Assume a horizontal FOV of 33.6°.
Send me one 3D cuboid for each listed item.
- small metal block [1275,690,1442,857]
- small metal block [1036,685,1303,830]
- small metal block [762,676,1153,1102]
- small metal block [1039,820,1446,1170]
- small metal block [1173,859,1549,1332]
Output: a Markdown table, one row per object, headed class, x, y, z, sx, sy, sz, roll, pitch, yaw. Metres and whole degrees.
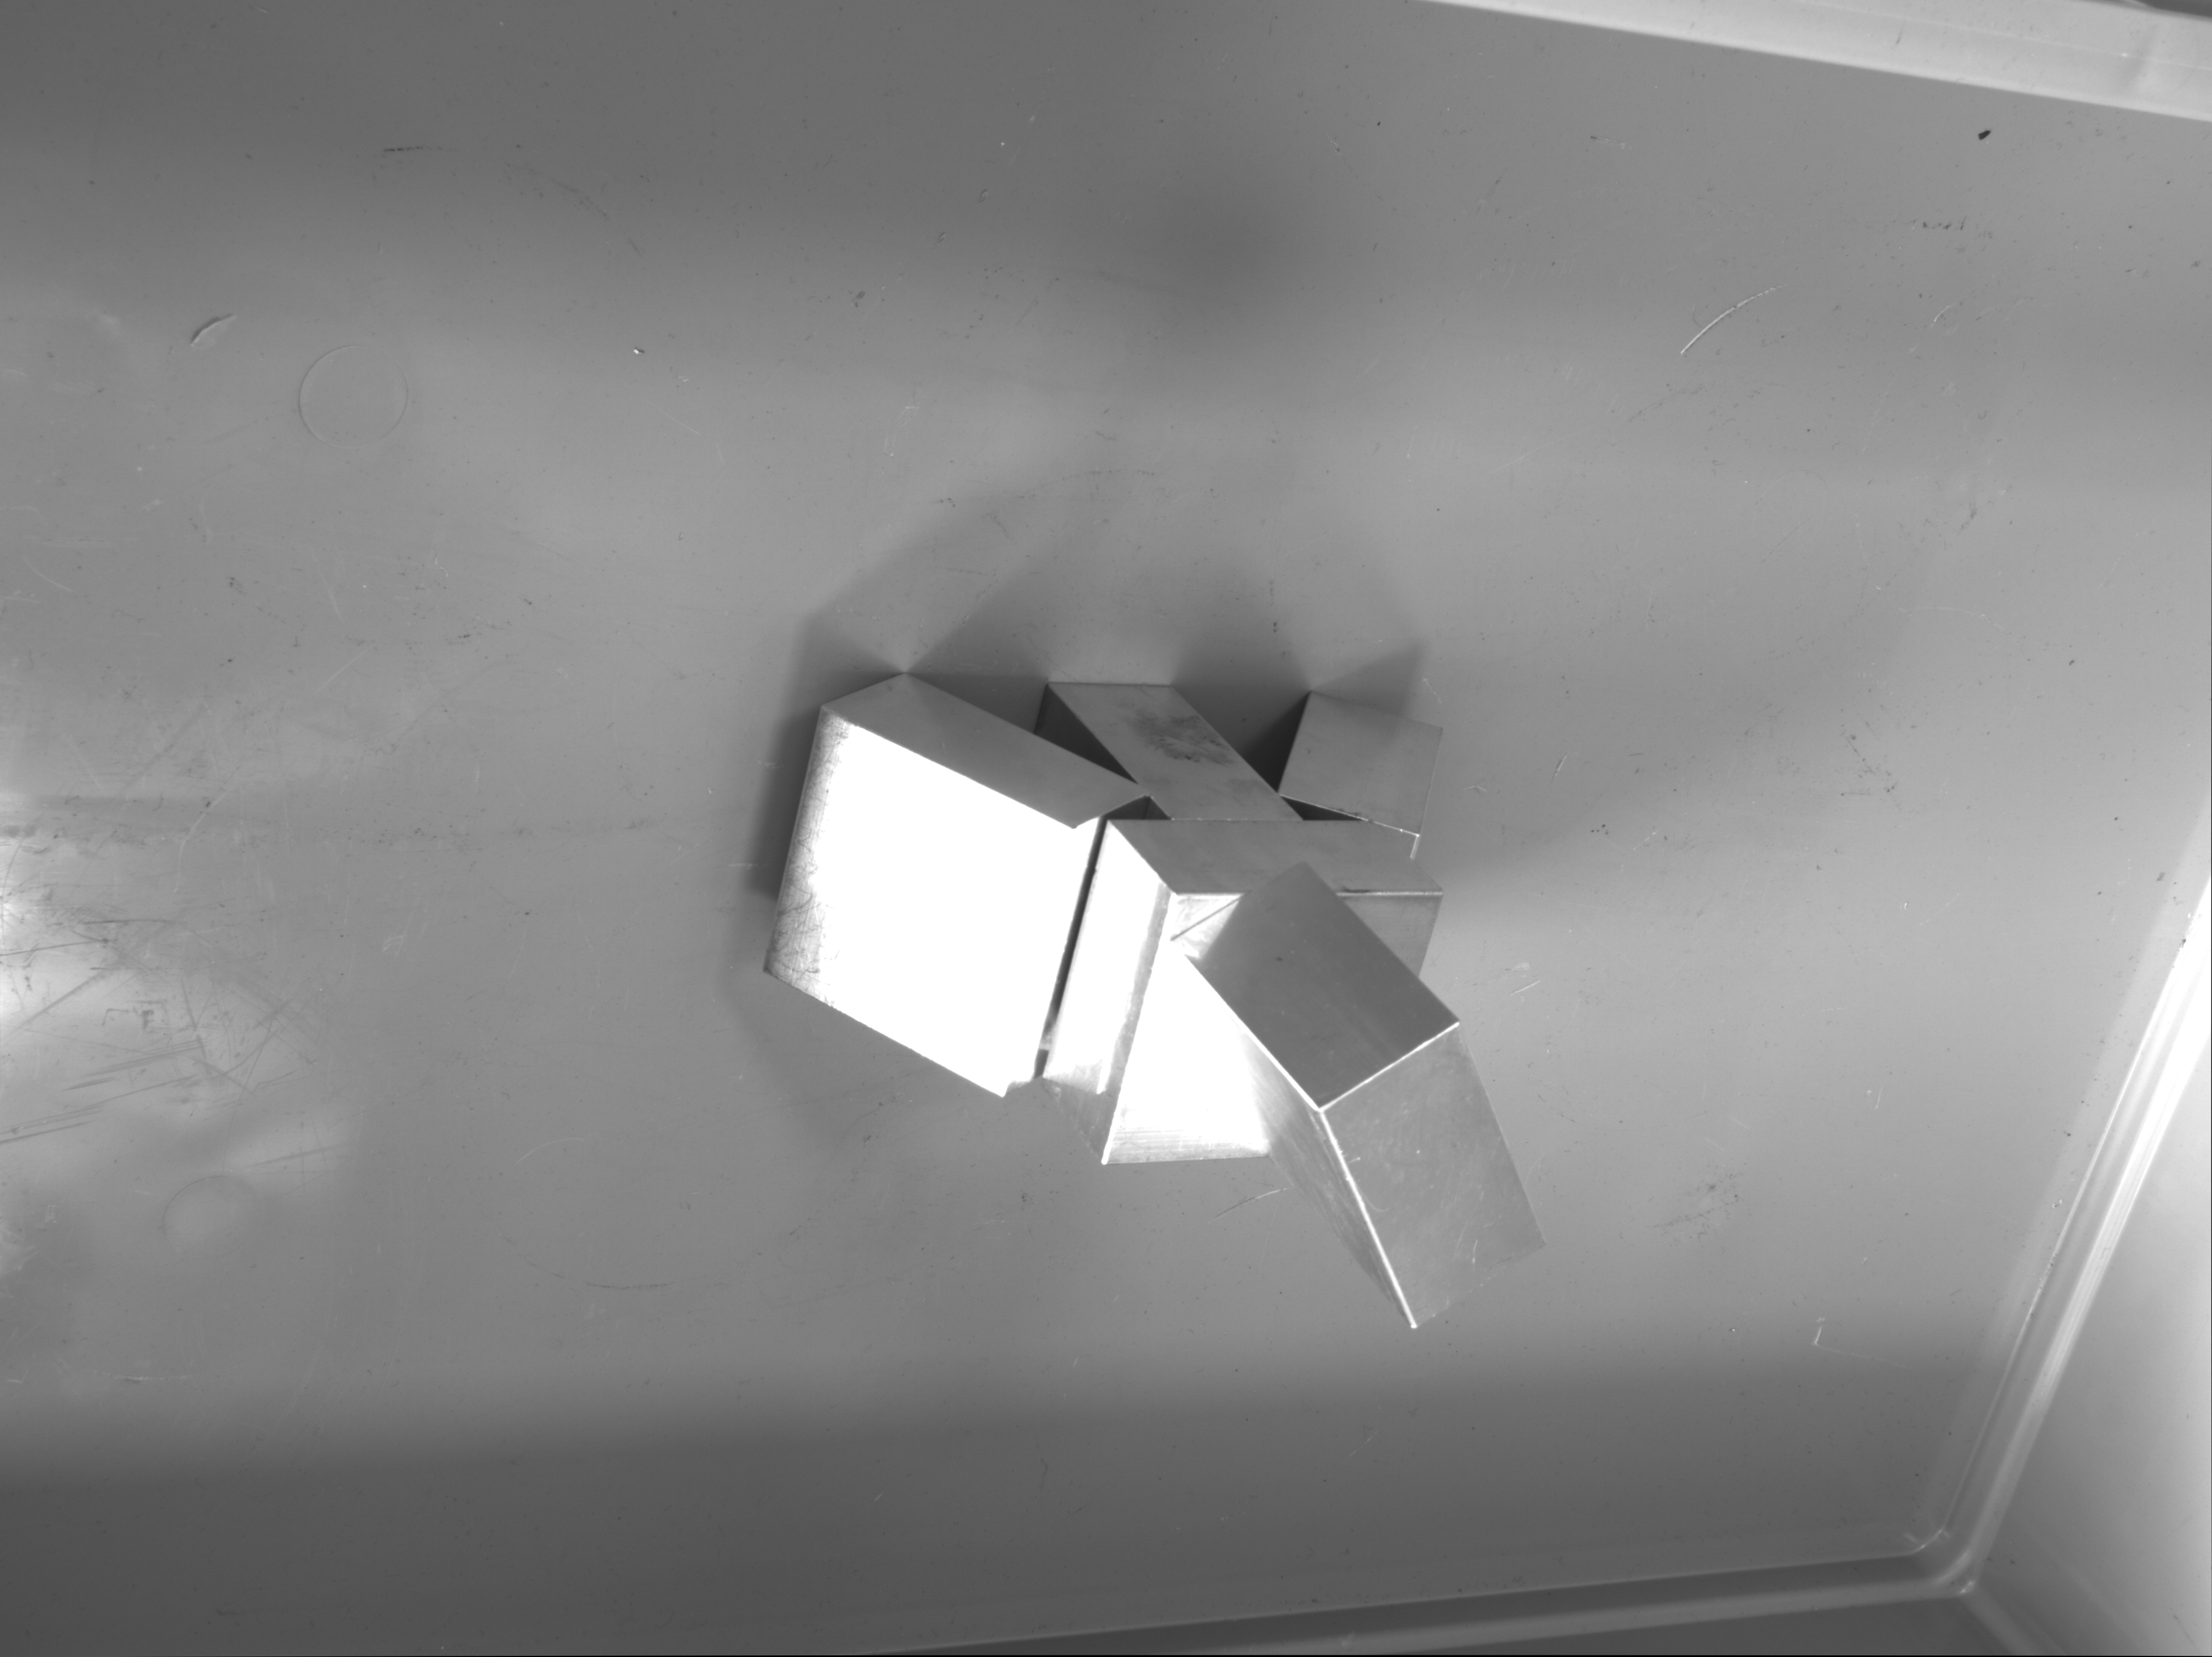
| class | x | y | z | sx | sy | sz | roll | pitch | yaw |
| --- | --- | --- | --- | --- | --- | --- | --- | --- | --- |
| small metal block | 0.038 | 0.010 | 0.643 | 0.025 | 0.050 | 0.050 | 16 | 114 | 3 |
| small metal block | 0.005 | 0.009 | 0.627 | 0.025 | 0.050 | 0.050 | 1 | 117 | -28 |
| small metal block | -0.025 | 0.009 | 0.608 | 0.025 | 0.050 | 0.050 | -27 | 137 | -56 |
| small metal block | 0.022 | 0.027 | 0.598 | 0.050 | 0.025 | 0.050 | 1 | 117 | -29 |
| small metal block | 0.039 | 0.041 | 0.568 | 0.025 | 0.050 | 0.050 | -30 | 128 | -8 |
